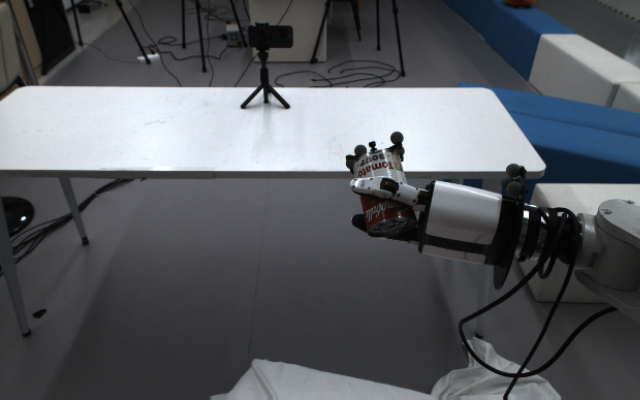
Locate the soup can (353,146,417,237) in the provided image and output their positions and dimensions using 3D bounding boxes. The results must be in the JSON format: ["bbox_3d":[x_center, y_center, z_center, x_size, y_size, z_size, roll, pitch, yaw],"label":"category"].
[{"bbox_3d":[0.088,-0.010,0.653,0.067,0.067,0.101,-6,68,-12],"label":"soup can"}]
